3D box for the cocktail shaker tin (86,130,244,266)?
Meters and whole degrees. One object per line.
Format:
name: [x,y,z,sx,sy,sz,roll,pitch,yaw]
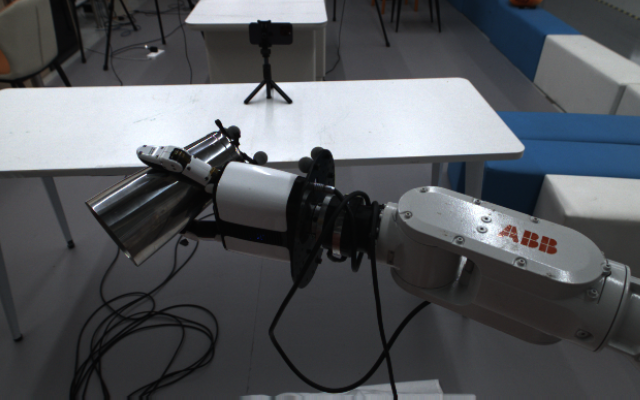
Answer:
cocktail shaker tin: [-0.174,-0.014,0.576,0.170,0.093,0.093,-38,49,-24]
